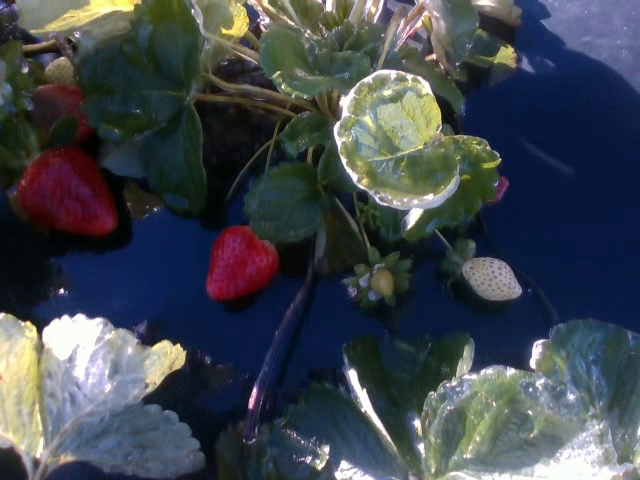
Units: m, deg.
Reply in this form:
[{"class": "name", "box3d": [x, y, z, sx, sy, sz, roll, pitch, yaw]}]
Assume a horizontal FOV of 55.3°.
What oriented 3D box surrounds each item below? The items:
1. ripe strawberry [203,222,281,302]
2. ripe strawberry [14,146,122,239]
[{"class": "ripe strawberry", "box3d": [-0.039, 0.014, 0.293, 0.039, 0.047, 0.040, 34, -15, 0]}, {"class": "ripe strawberry", "box3d": [-0.126, -0.020, 0.306, 0.044, 0.056, 0.040, -45, -1, -4]}]
